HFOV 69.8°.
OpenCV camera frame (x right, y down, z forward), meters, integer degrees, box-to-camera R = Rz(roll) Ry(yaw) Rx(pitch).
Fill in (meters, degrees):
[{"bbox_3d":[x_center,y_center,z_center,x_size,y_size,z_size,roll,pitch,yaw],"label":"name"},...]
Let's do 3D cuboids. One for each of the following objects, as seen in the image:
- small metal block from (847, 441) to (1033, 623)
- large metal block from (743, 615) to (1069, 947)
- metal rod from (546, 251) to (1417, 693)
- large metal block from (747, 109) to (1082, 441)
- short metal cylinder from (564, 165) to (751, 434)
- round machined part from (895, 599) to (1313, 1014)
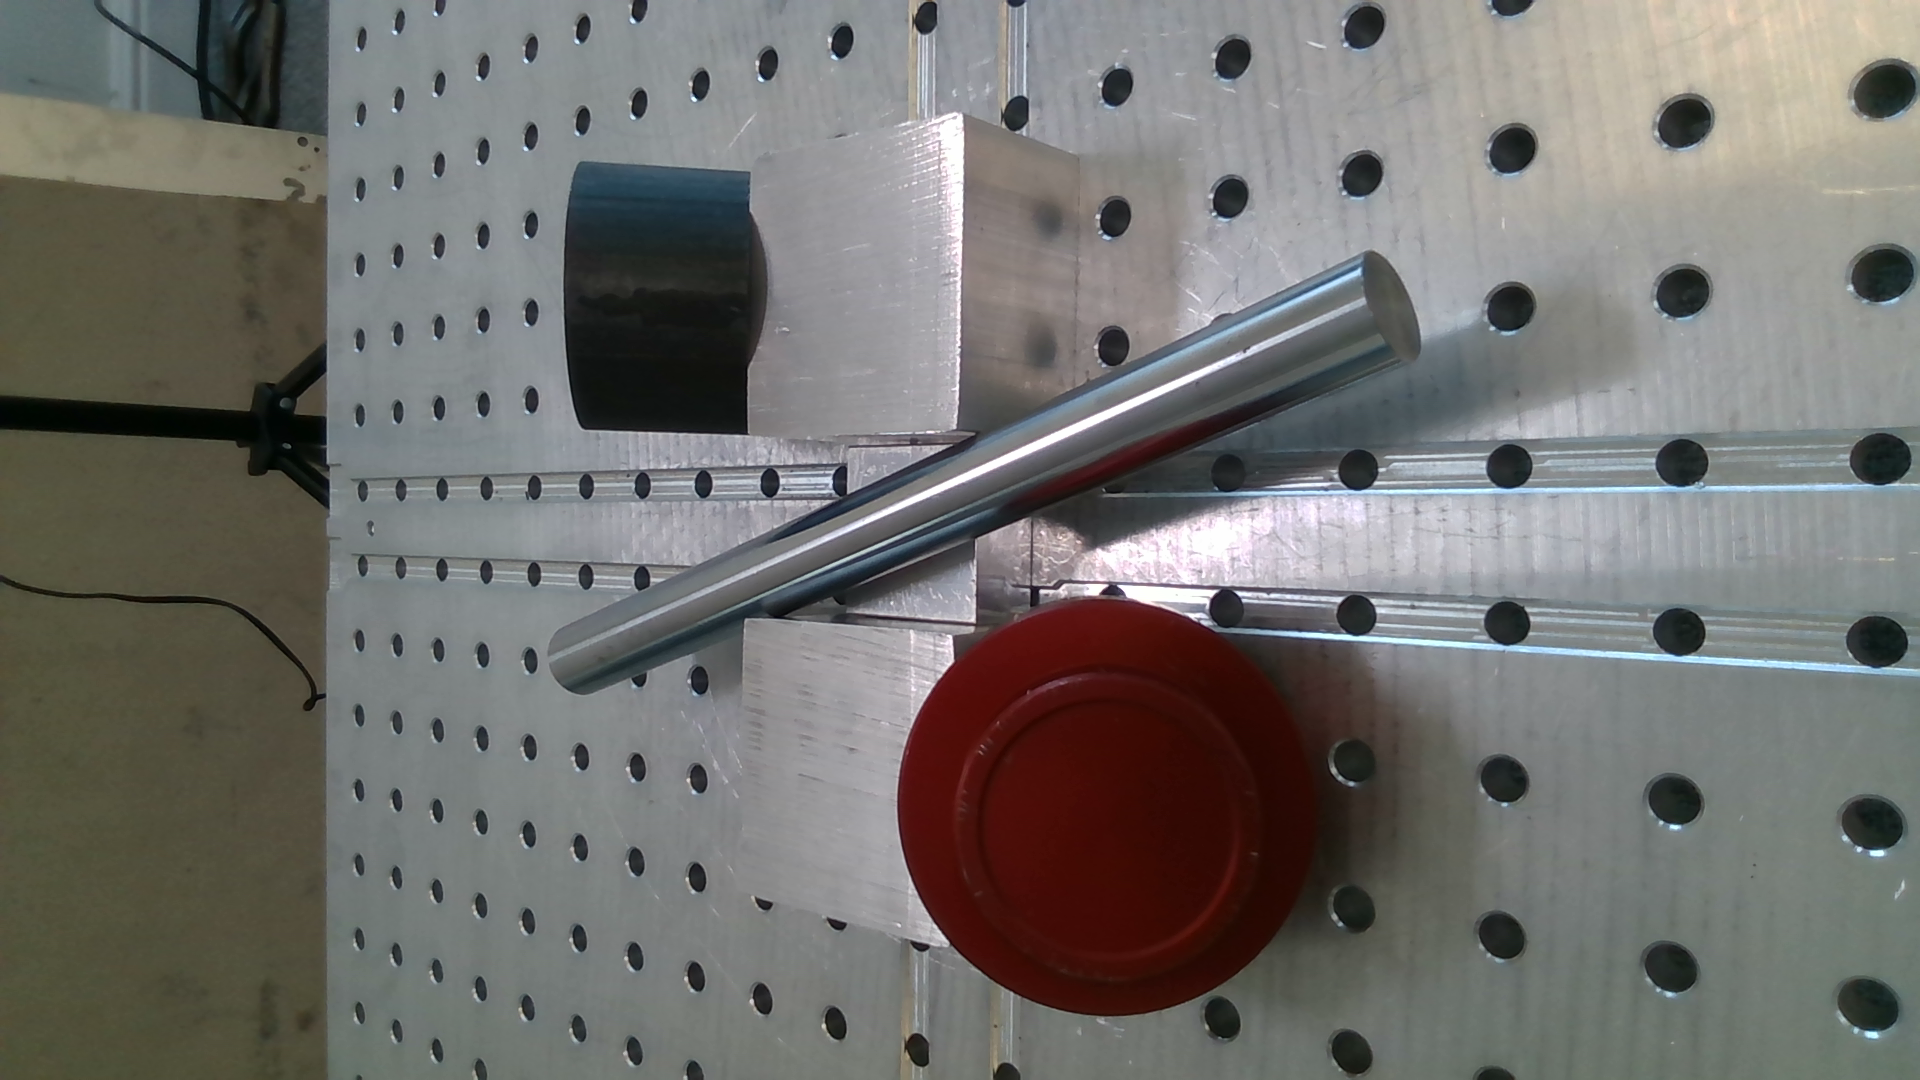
[{"bbox_3d":[-0.006,-0.003,0.400,0.050,0.025,0.050,1,91,40],"label":"small metal block"},{"bbox_3d":[-0.016,0.063,0.393,0.080,0.050,0.080,1,91,40],"label":"large metal block"},{"bbox_3d":[-0.021,-0.004,0.378,0.300,0.025,0.025,-22,76,38],"label":"metal rod"},{"bbox_3d":[-0.014,-0.069,0.389,0.080,0.050,0.080,3,92,40],"label":"large metal block"},{"bbox_3d":[-0.090,-0.074,0.425,0.080,0.050,0.080,179,92,-83],"label":"short metal cylinder"},{"bbox_3d":[0.033,0.063,0.323,0.098,0.042,0.098,0,91,5],"label":"round machined part"}]
